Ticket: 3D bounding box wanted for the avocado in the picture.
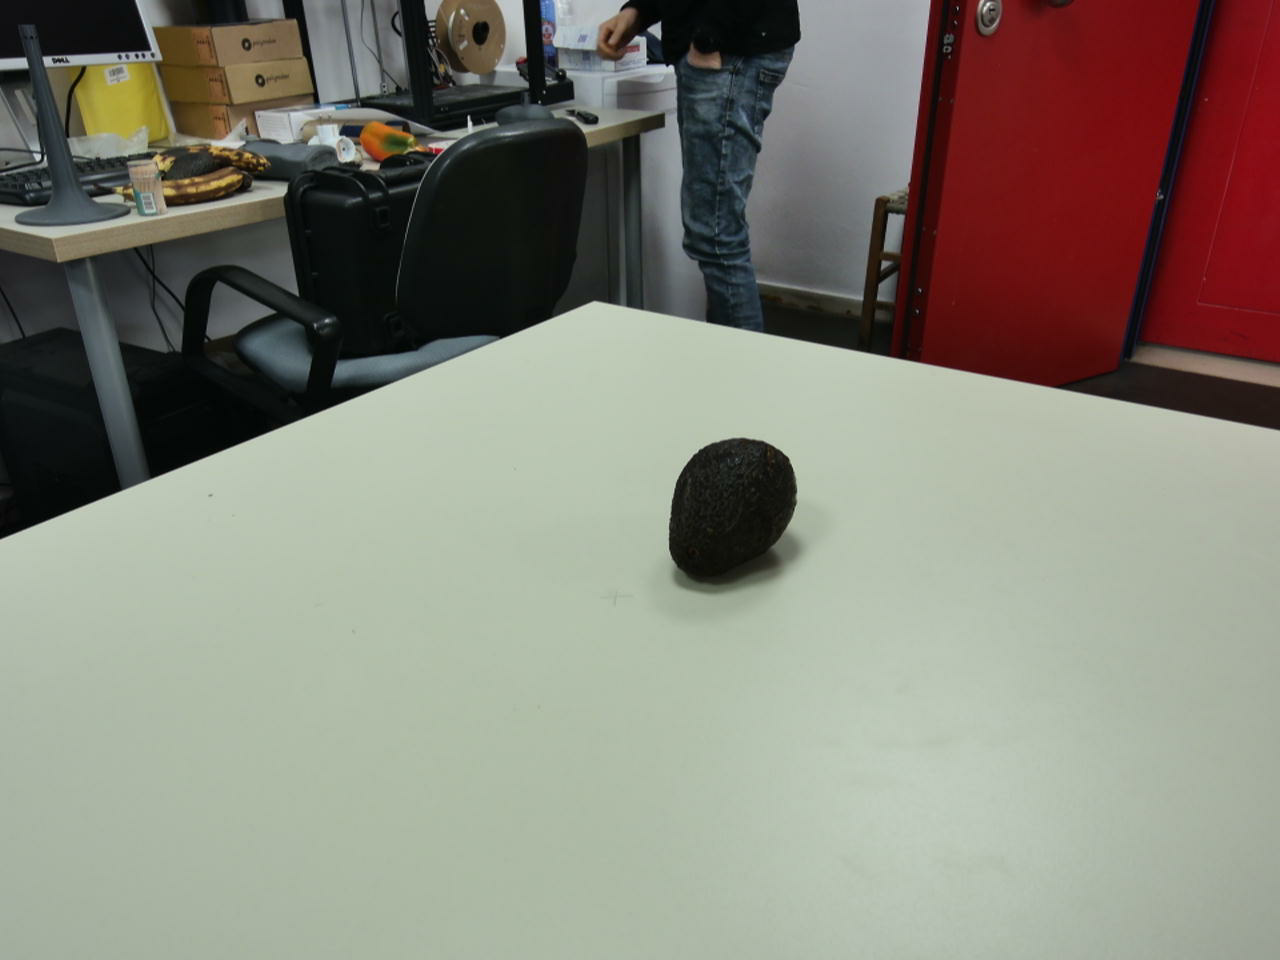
[{"bbox_3d":[0.051,0.012,0.586,0.090,0.069,0.070,-14,28,-26],"label":"avocado"}]
